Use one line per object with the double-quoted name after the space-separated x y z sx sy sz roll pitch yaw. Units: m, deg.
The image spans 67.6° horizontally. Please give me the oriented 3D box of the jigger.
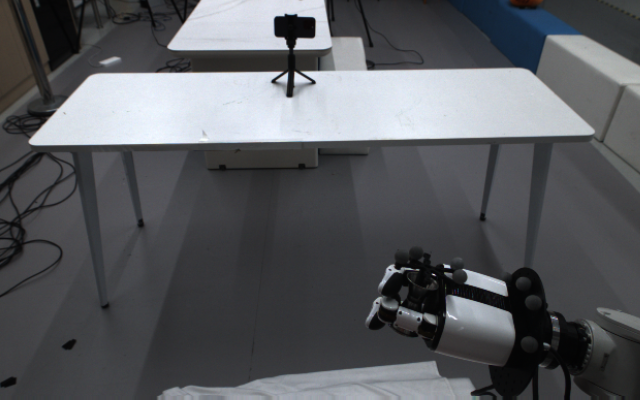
0.118 0.128 0.602 0.043 0.071 0.043 15 17 -5 "jigger"
